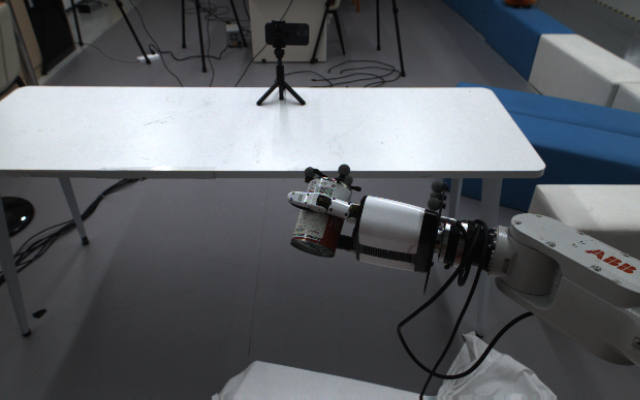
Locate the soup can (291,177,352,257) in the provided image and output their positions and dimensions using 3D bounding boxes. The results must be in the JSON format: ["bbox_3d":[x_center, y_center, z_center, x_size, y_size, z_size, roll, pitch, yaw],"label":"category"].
[{"bbox_3d":[0.004,0.025,0.709,0.067,0.067,0.101,12,70,14],"label":"soup can"}]
